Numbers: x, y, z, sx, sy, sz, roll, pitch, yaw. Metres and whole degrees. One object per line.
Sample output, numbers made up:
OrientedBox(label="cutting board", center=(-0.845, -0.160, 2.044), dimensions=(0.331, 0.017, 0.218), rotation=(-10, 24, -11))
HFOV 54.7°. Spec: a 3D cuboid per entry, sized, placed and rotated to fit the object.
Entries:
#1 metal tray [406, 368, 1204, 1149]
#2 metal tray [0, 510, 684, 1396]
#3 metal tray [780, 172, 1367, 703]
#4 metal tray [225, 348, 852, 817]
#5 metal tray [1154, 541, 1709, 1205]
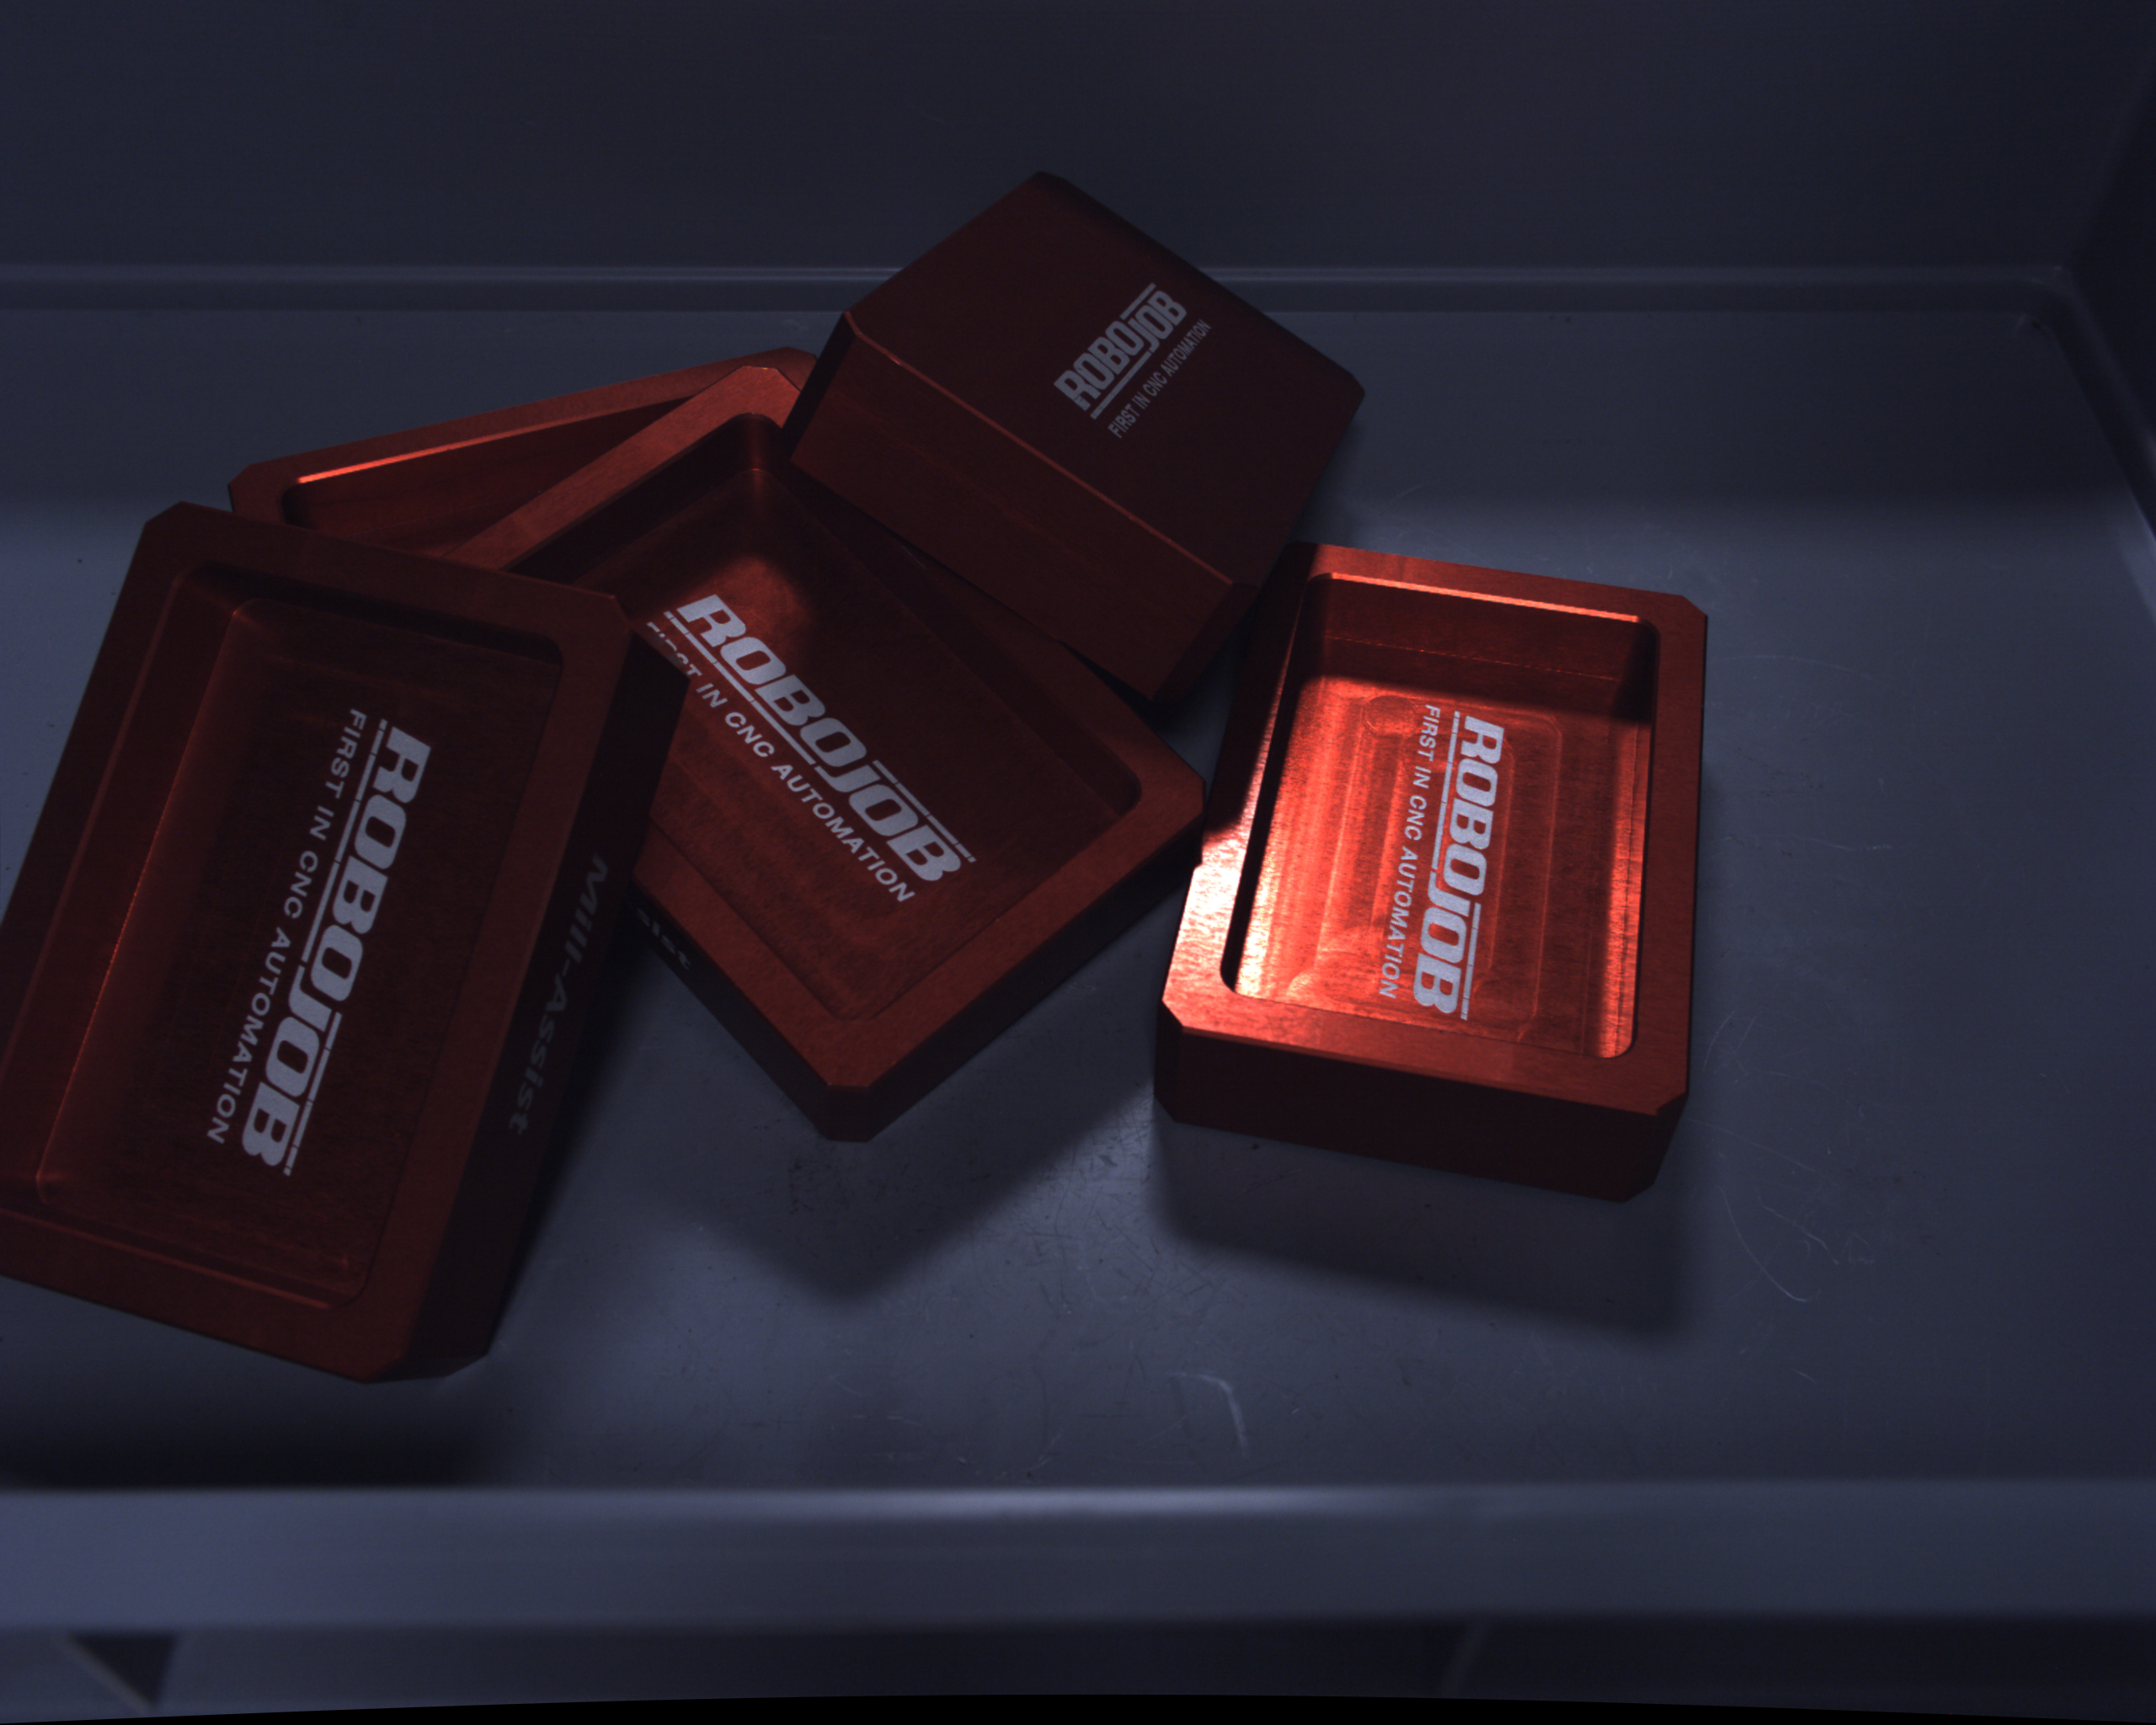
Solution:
OrientedBox(label="metal tray", center=(-0.052, -0.023, 0.390), dimensions=(0.090, 0.030, 0.130), rotation=(-40, 75, -21))
OrientedBox(label="metal tray", center=(-0.130, 0.014, 0.349), dimensions=(0.090, 0.030, 0.129), rotation=(13, 79, 10))
OrientedBox(label="metal tray", center=(0.005, -0.093, 0.434), dimensions=(0.090, 0.030, 0.130), rotation=(33, 34, -3))
OrientedBox(label="metal tray", center=(-0.107, -0.061, 0.449), dimensions=(0.131, 0.030, 0.090), rotation=(-16, 52, -14))
OrientedBox(label="metal tray", center=(0.071, -0.004, 0.403), dimensions=(0.090, 0.030, 0.130), rotation=(10, 51, 7))
